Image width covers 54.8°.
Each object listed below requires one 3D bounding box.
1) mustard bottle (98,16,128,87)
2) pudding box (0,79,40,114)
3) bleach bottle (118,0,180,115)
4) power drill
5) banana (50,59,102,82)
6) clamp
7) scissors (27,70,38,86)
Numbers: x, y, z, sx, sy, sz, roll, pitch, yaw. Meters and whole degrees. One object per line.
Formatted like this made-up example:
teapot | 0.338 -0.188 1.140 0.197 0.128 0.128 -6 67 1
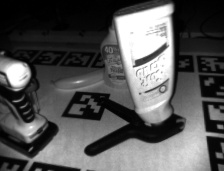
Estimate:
mustard bottle | 0.011 -0.088 0.573 0.095 0.193 0.058 13 42 22
pudding box | -0.248 0.023 0.544 0.113 0.090 0.039 5 34 14
bleach bottle | 0.084 -0.032 0.418 0.102 0.253 0.067 -15 35 2
power drill | -0.215 0.018 0.421 0.182 0.188 0.057 9 35 23
banana | -0.085 -0.050 0.645 0.199 0.039 0.073 -23 24 -19
clamp | 0.058 0.058 0.478 0.202 0.037 0.165 0 41 5
scissors | -0.262 -0.032 0.510 0.200 0.016 0.088 24 52 26
